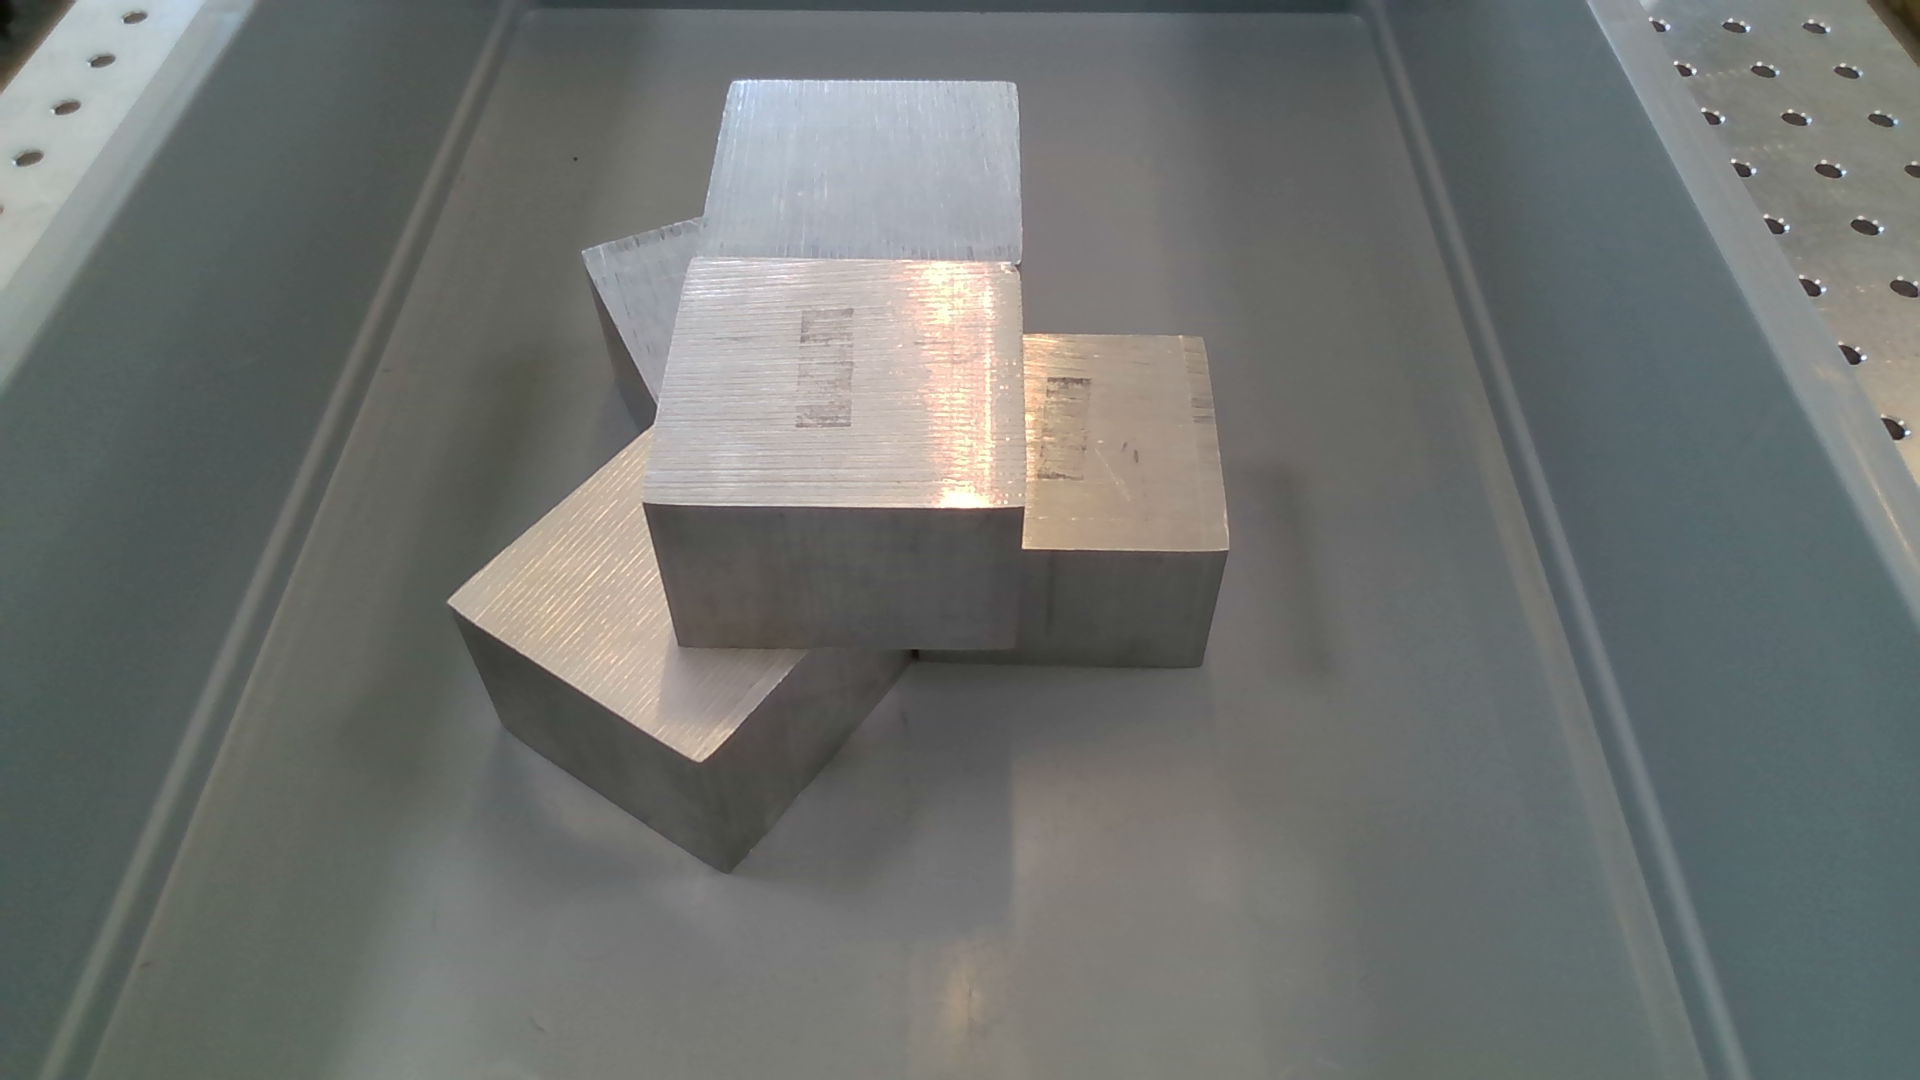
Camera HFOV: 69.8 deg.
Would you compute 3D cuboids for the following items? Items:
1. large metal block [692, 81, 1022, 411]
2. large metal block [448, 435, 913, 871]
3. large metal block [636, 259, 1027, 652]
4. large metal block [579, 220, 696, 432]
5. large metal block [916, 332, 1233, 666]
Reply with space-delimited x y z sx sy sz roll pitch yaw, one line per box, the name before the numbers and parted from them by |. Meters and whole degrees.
large metal block | -0.025 -0.082 0.379 0.080 0.050 0.080 0 50 0
large metal block | -0.067 0.023 0.355 0.080 0.050 0.080 27 55 21
large metal block | -0.026 -0.021 0.327 0.080 0.050 0.080 0 50 0
large metal block | -0.062 -0.057 0.424 0.080 0.050 0.080 -21 53 -16
large metal block | 0.029 -0.013 0.387 0.080 0.050 0.080 1 50 1
